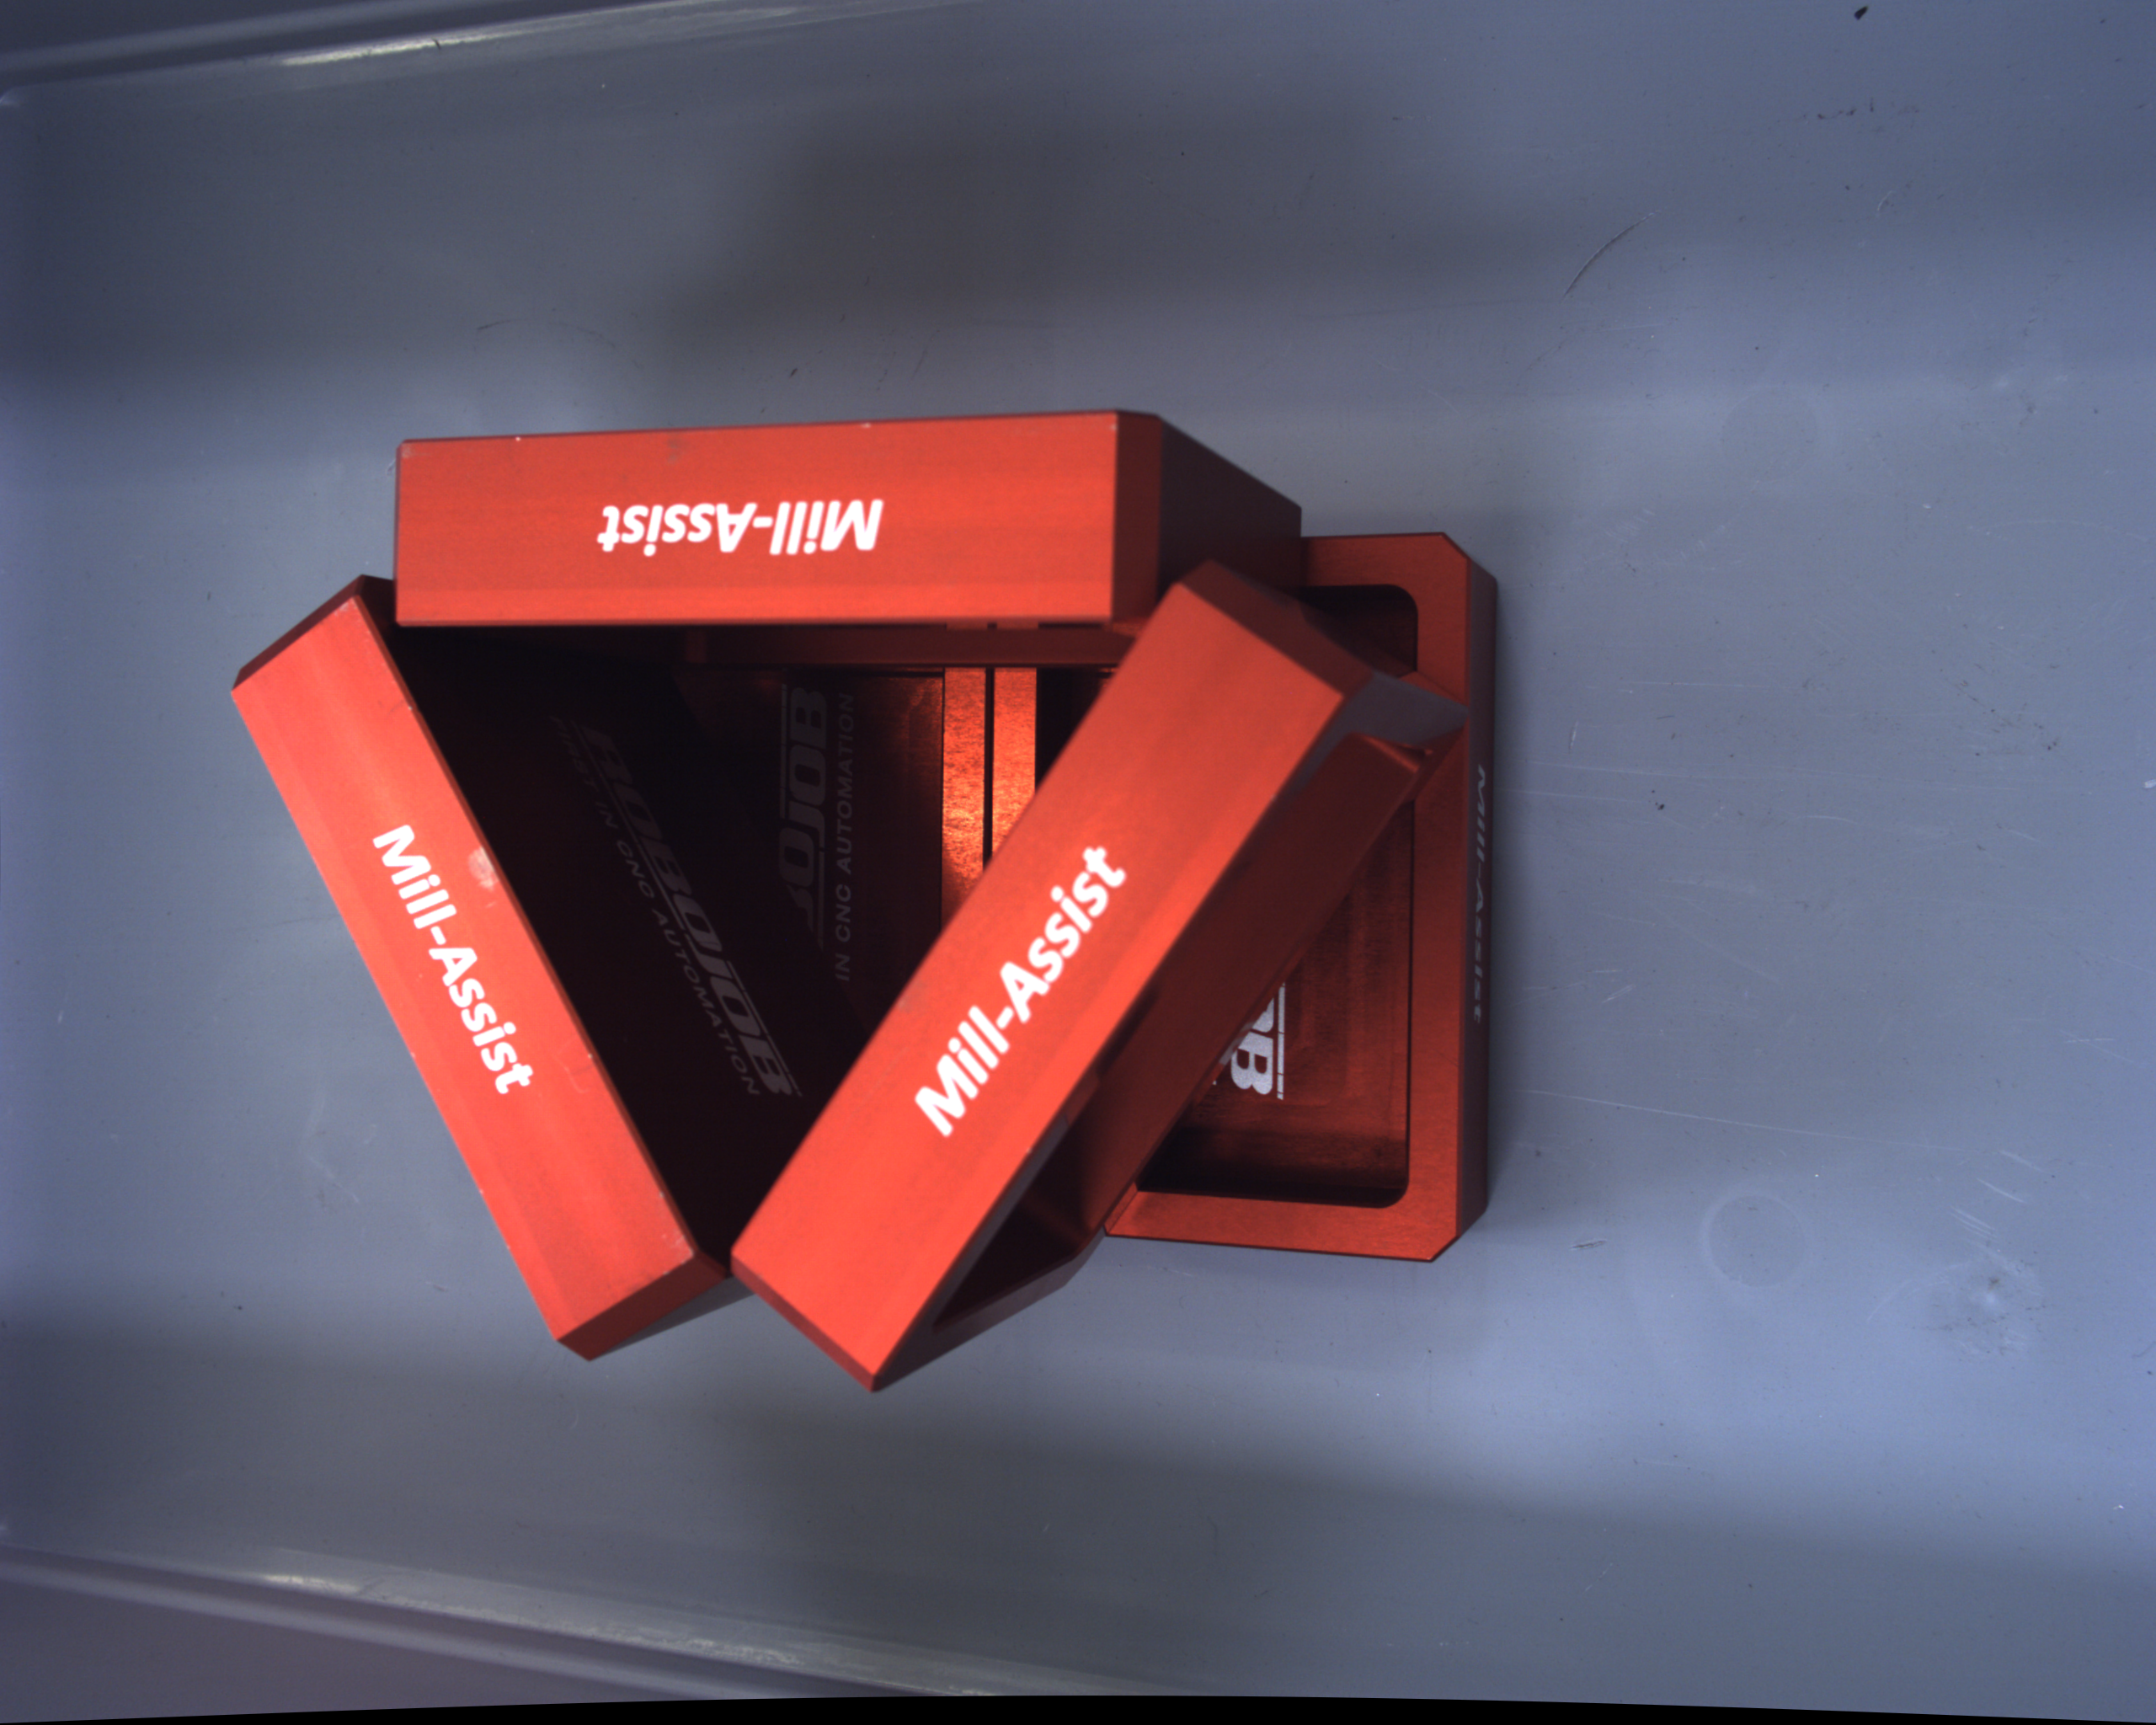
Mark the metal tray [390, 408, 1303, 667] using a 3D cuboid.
[{"bbox_3d":[-0.036,-0.051,0.354,0.130,0.090,0.030,2,91,20],"label":"metal tray"}]

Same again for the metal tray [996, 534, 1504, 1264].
[{"bbox_3d":[0.031,0.006,0.396,0.090,0.030,0.129,1,90,20],"label":"metal tray"}]

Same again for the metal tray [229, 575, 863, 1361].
[{"bbox_3d":[-0.083,0.015,0.371,0.030,0.090,0.130,-33,80,18],"label":"metal tray"}]

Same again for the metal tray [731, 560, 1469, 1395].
[{"bbox_3d":[0.007,0.018,0.339,0.030,0.090,0.129,37,102,16],"label":"metal tray"}]

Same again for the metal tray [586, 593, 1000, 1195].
[{"bbox_3d":[-0.055,0.003,0.427,0.090,0.030,0.129,1,89,20],"label":"metal tray"}]
